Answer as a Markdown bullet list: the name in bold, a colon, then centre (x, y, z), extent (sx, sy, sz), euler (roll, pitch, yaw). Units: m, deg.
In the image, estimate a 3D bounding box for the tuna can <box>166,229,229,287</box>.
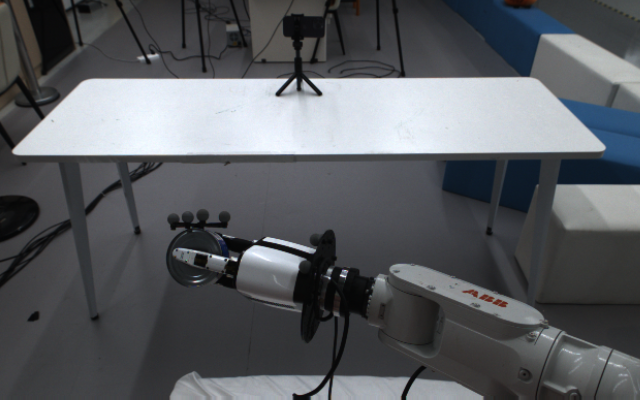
- **tuna can**: centre (-0.172, 0.087, 0.709), extent (0.085, 0.085, 0.034), euler (9, -6, 10)
